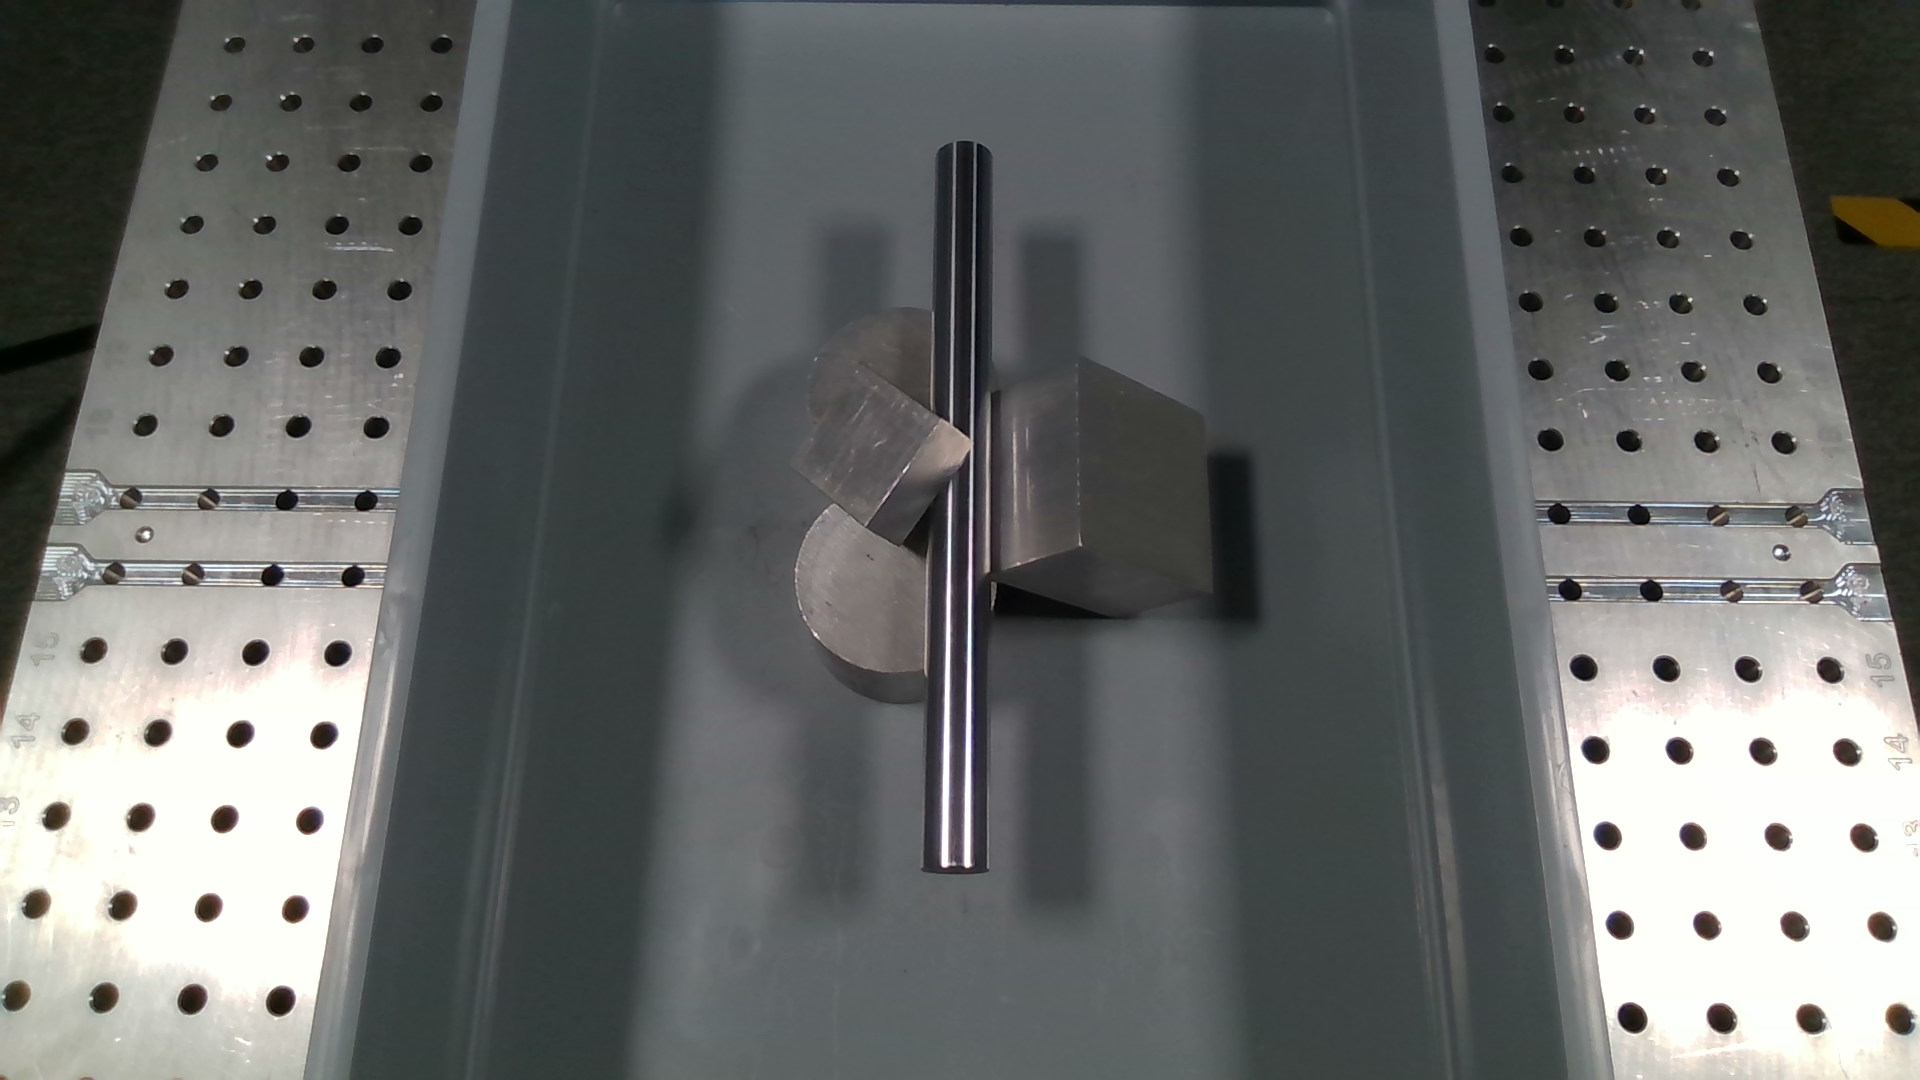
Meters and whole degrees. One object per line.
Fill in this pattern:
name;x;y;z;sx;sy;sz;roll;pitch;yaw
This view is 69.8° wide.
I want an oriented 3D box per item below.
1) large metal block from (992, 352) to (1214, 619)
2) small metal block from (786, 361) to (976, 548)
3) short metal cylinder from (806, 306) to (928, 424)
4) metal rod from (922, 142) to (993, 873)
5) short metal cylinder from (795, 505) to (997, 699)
large metal block;0.056;-0.019;0.559;0.080;0.050;0.080;19;64;-40
small metal block;-0.031;-0.033;0.534;0.050;0.025;0.050;37;93;34
short metal cylinder;-0.024;-0.053;0.593;0.080;0.050;0.080;0;70;0
metal rod;0.000;-0.023;0.542;0.025;0.025;0.299;1;70;0
short metal cylinder;-0.025;0.022;0.566;0.080;0.050;0.080;0;70;0
